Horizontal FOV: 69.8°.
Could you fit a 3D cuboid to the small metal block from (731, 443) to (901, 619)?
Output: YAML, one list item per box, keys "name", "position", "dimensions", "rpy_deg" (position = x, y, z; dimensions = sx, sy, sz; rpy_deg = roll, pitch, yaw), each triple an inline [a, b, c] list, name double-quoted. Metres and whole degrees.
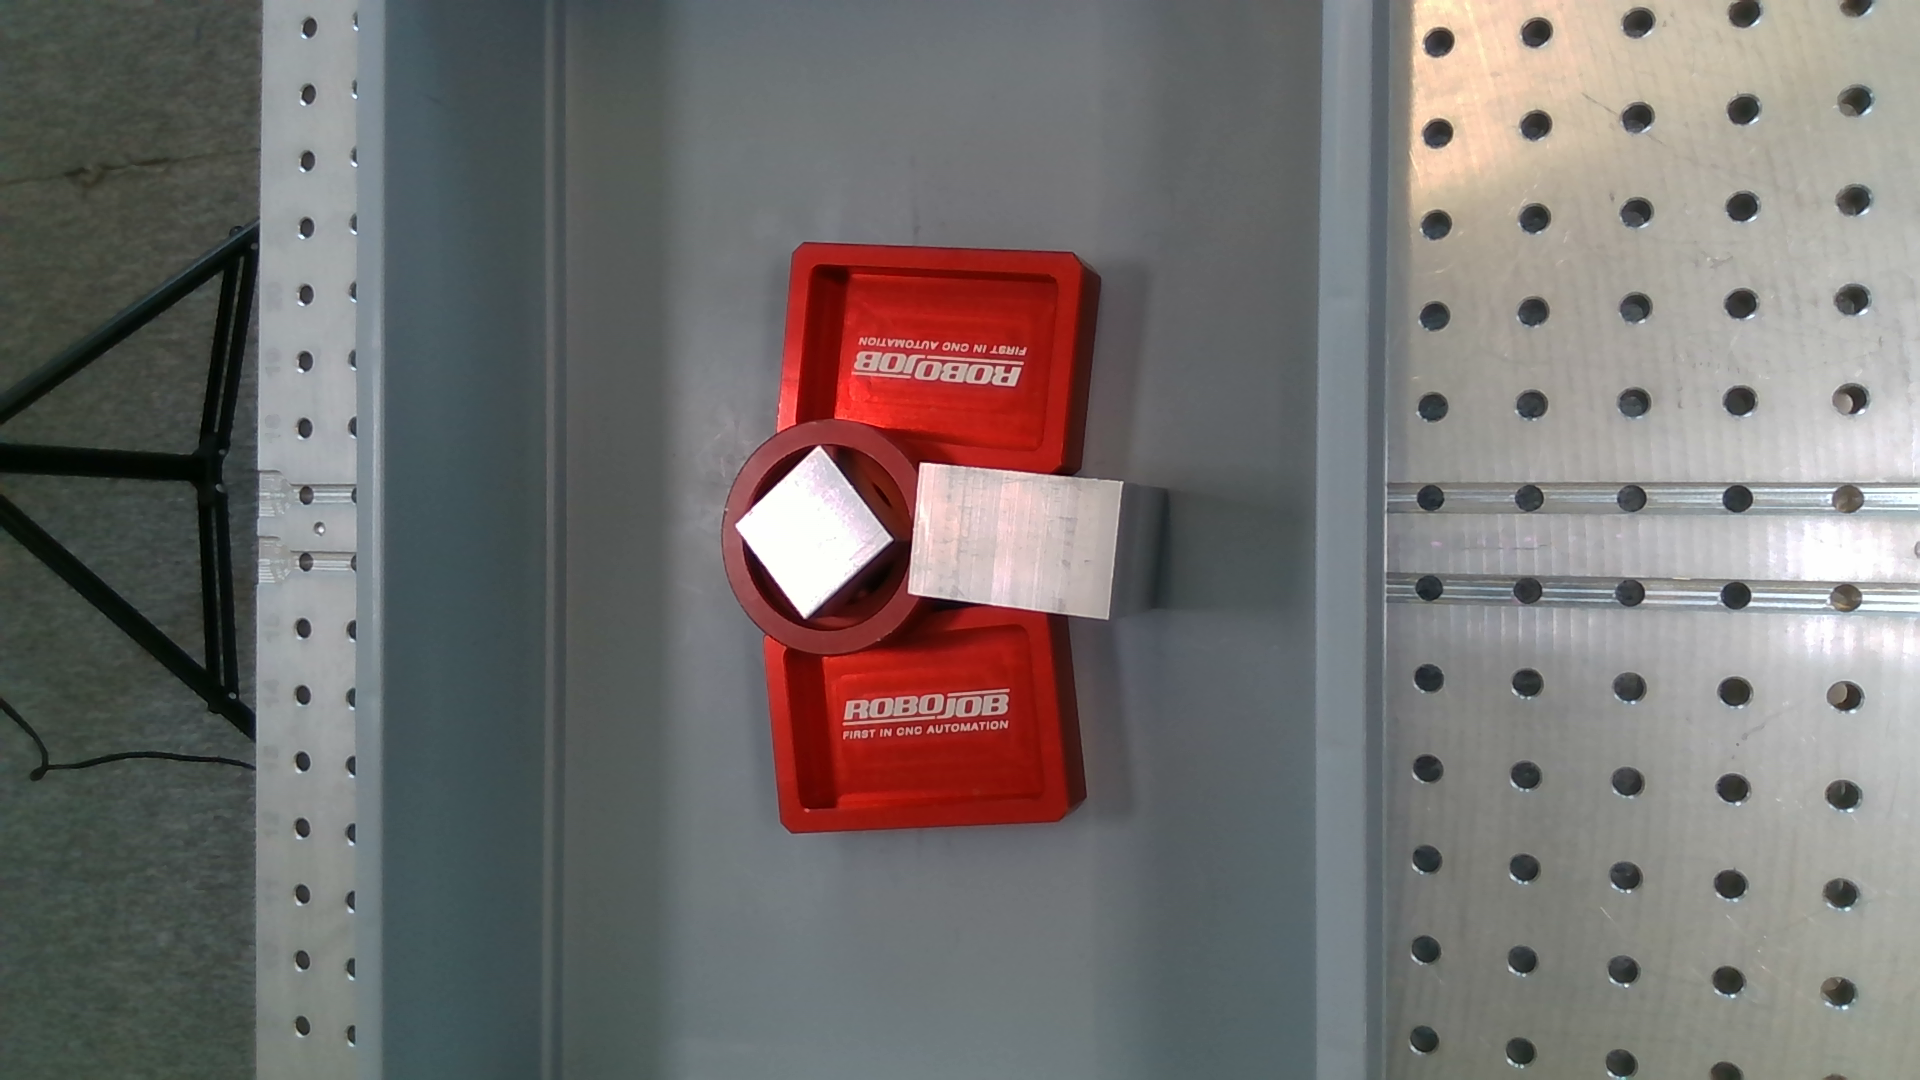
- name: "small metal block"
  position: [-0.056, -0.004, 0.560]
  dimensions: [0.050, 0.025, 0.050]
  rpy_deg: [-41, 77, 16]

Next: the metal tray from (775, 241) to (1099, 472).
- name: "metal tray"
  position: [-0.011, -0.077, 0.585]
  dimensions: [0.130, 0.030, 0.090]
  rpy_deg: [7, 93, 20]

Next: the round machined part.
- name: "round machined part"
  position: [-0.049, -0.001, 0.583]
  dimensions: [0.098, 0.042, 0.098]
  rpy_deg: [0, 91, 20]

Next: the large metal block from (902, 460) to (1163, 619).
- name: "large metal block"
  position: [0.032, -0.001, 0.543]
  dimensions: [0.080, 0.080, 0.050]
  rpy_deg: [7, 93, 20]

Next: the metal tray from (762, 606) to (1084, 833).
- name: "metal tray"
  position: [-0.017, 0.075, 0.589]
  dimensions: [0.130, 0.030, 0.090]
  rpy_deg: [-7, 88, 20]
